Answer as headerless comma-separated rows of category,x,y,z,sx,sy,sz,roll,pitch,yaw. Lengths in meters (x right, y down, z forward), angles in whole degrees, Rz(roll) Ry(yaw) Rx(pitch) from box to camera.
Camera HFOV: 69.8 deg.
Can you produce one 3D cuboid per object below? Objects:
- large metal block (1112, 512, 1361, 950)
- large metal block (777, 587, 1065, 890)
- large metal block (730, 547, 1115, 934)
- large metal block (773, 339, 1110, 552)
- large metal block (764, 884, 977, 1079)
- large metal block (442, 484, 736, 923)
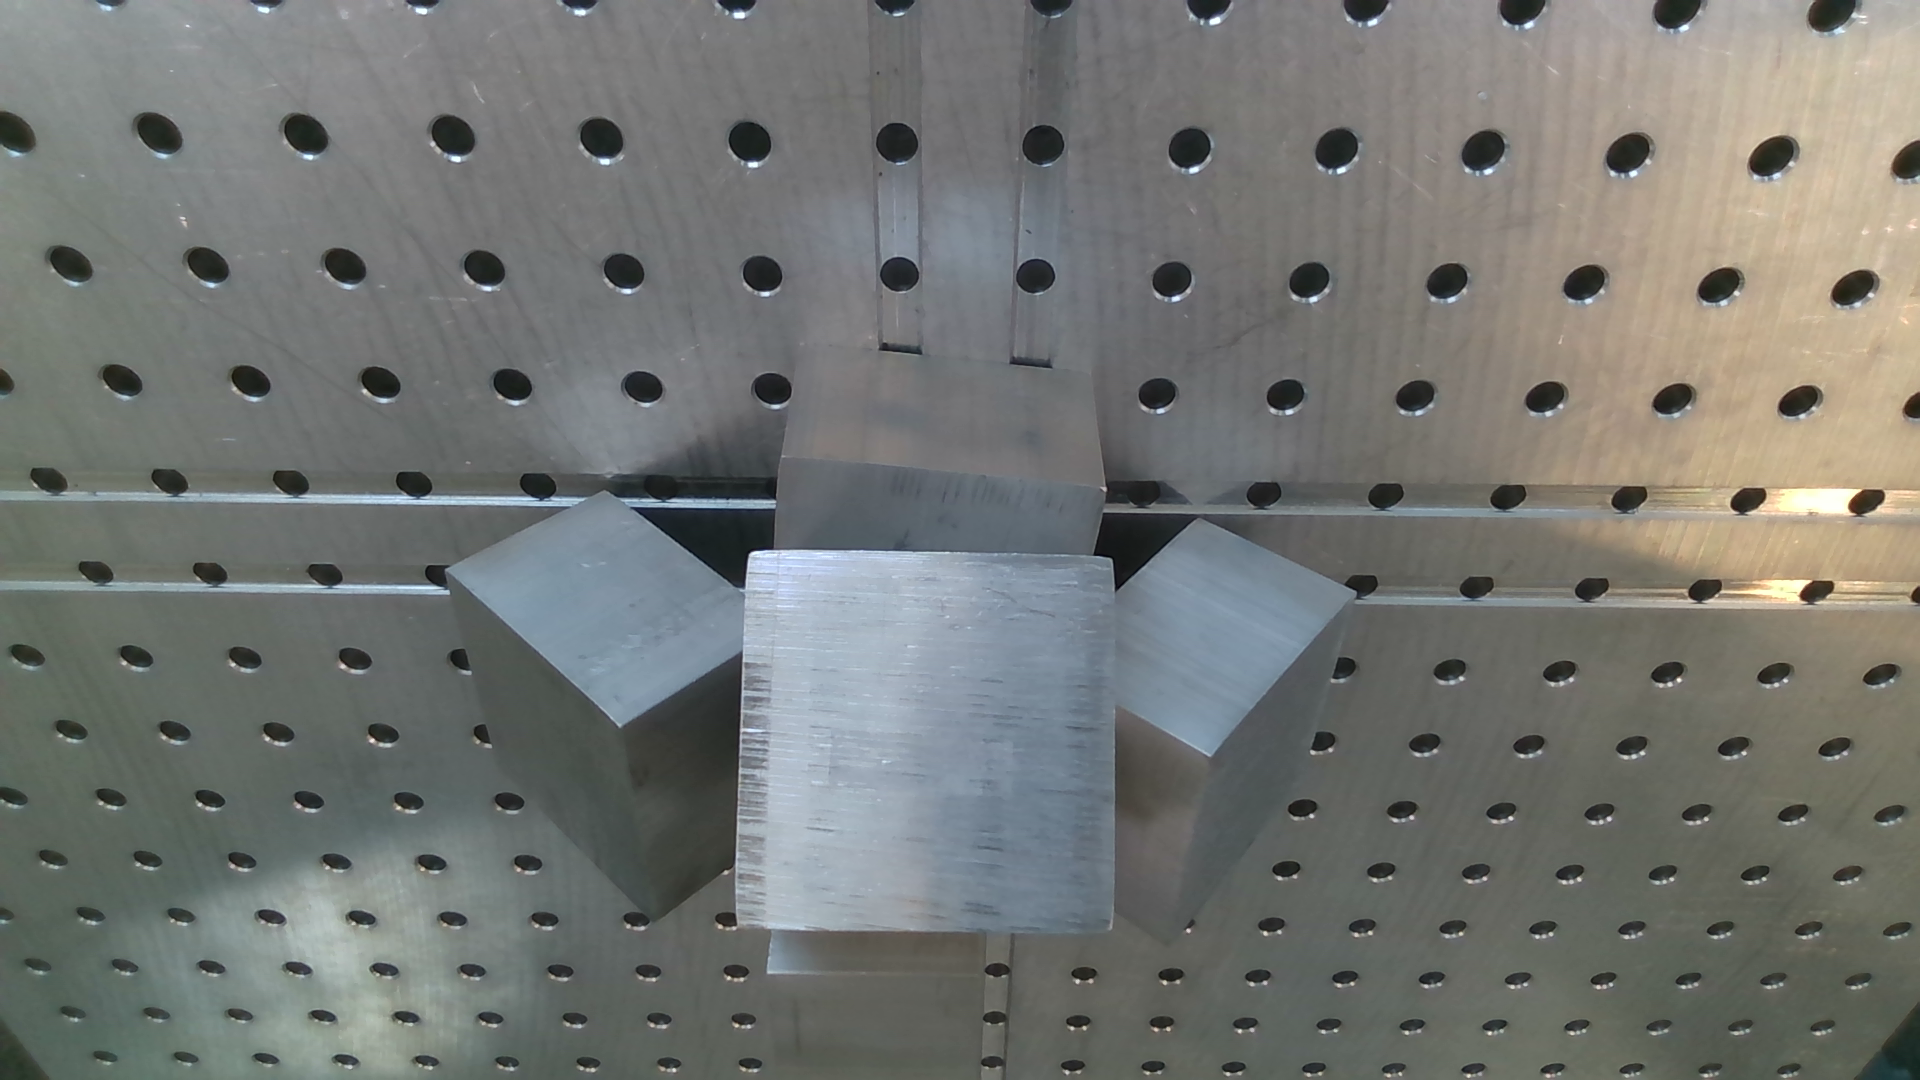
large metal block,0.064,0.053,0.390,0.050,0.080,0.080,28,136,27
large metal block,-0.013,0.062,0.427,0.080,0.050,0.080,2,130,-2
large metal block,-0.008,0.044,0.317,0.080,0.050,0.080,1,85,0
large metal block,-0.008,-0.003,0.373,0.080,0.050,0.080,5,130,-4
large metal block,-0.022,0.106,0.380,0.050,0.080,0.080,1,130,-1
large metal block,-0.093,0.044,0.385,0.080,0.050,0.080,33,139,31
